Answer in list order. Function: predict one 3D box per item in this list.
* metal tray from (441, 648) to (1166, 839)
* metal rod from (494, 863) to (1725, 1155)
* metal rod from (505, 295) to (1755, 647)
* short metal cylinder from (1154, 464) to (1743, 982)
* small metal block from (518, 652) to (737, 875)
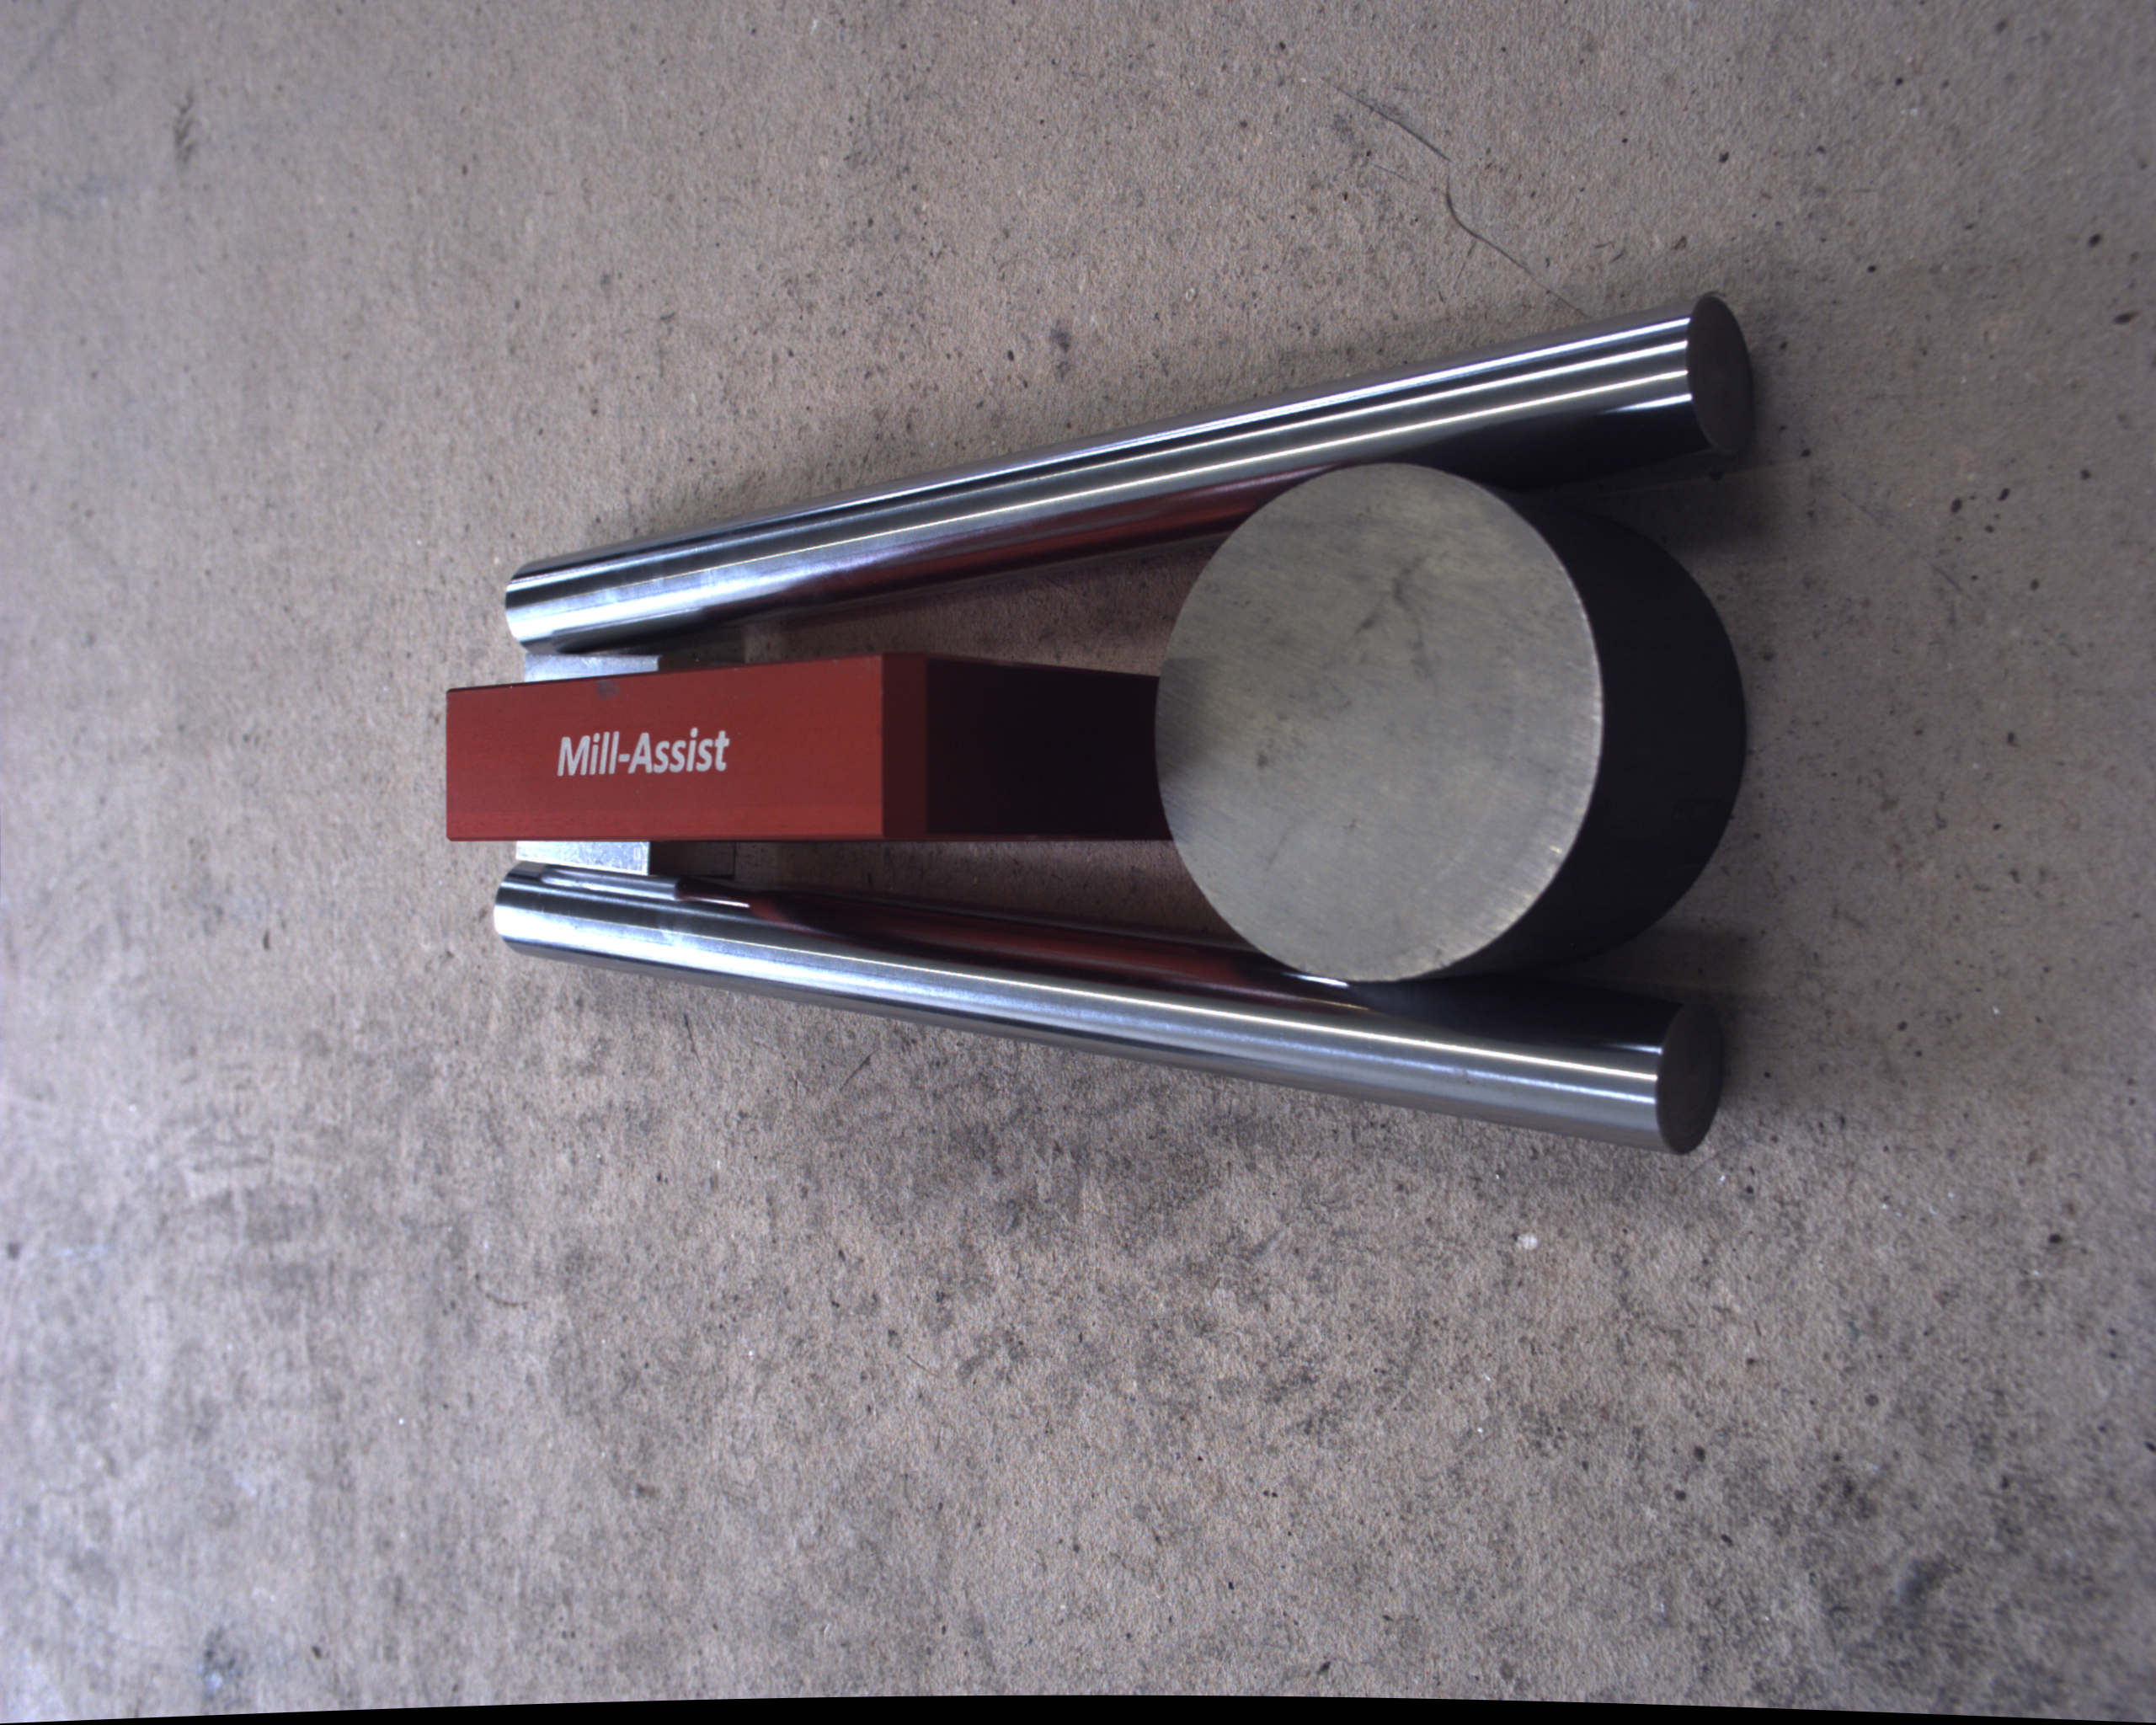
[{"bbox_3d":[-0.049,-0.019,0.403,0.130,0.091,0.030,0,90,40],"label":"metal tray"},{"bbox_3d":[-0.019,0.022,0.422,0.300,0.025,0.025,6,94,39],"label":"metal rod"},{"bbox_3d":[-0.015,-0.069,0.419,0.300,0.025,0.025,-3,88,40],"label":"metal rod"},{"bbox_3d":[0.060,-0.022,0.340,0.080,0.050,0.079,0,90,40],"label":"short metal cylinder"},{"bbox_3d":[-0.106,-0.024,0.495,0.050,0.025,0.050,6,94,40],"label":"small metal block"}]
